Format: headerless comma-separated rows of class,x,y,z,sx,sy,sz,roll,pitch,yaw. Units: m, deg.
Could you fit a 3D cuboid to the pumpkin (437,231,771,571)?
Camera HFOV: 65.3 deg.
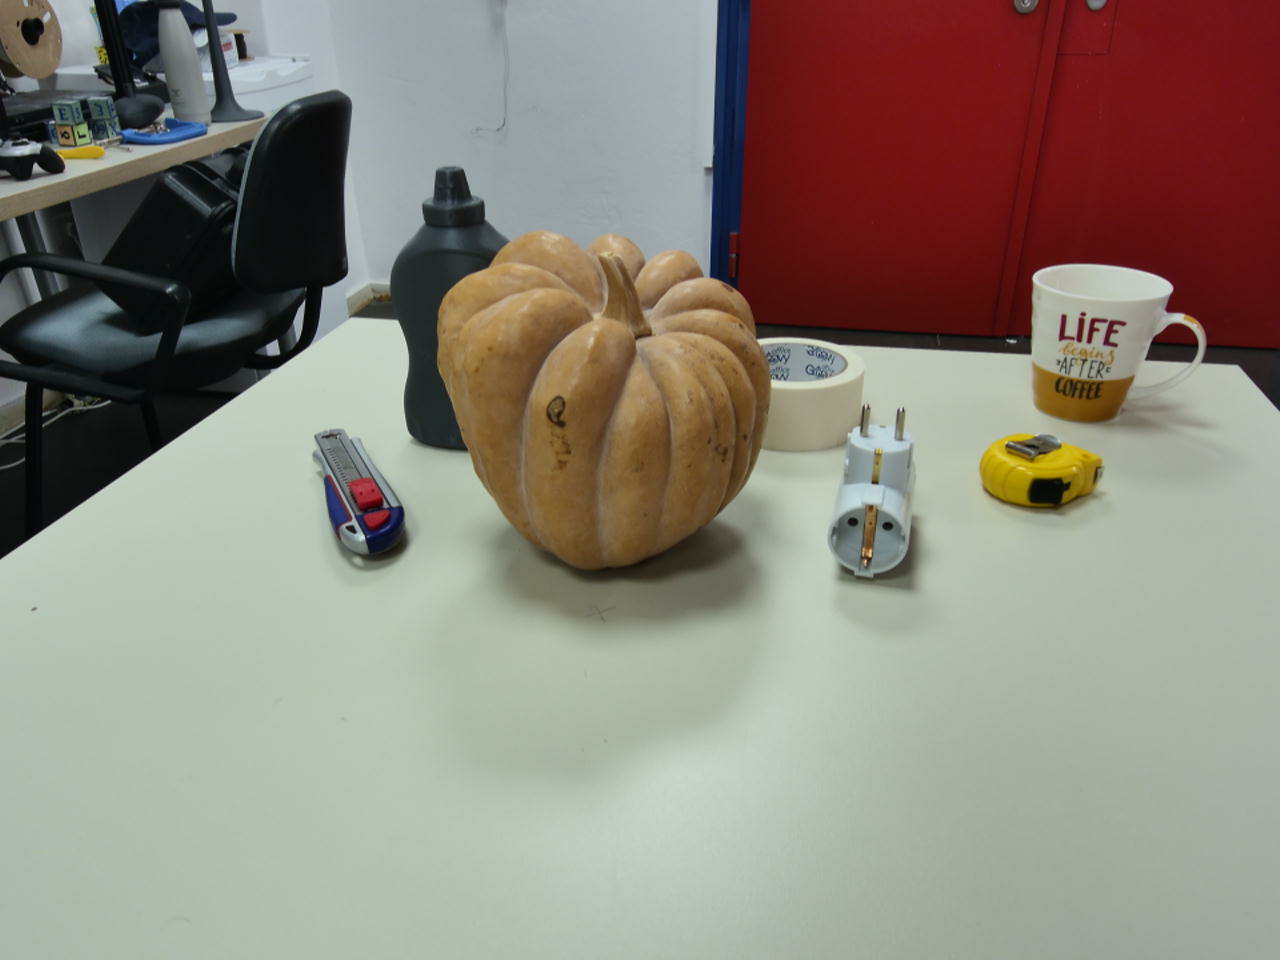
pumpkin,-0.020,-0.047,0.575,0.199,0.177,0.198,0,26,0
